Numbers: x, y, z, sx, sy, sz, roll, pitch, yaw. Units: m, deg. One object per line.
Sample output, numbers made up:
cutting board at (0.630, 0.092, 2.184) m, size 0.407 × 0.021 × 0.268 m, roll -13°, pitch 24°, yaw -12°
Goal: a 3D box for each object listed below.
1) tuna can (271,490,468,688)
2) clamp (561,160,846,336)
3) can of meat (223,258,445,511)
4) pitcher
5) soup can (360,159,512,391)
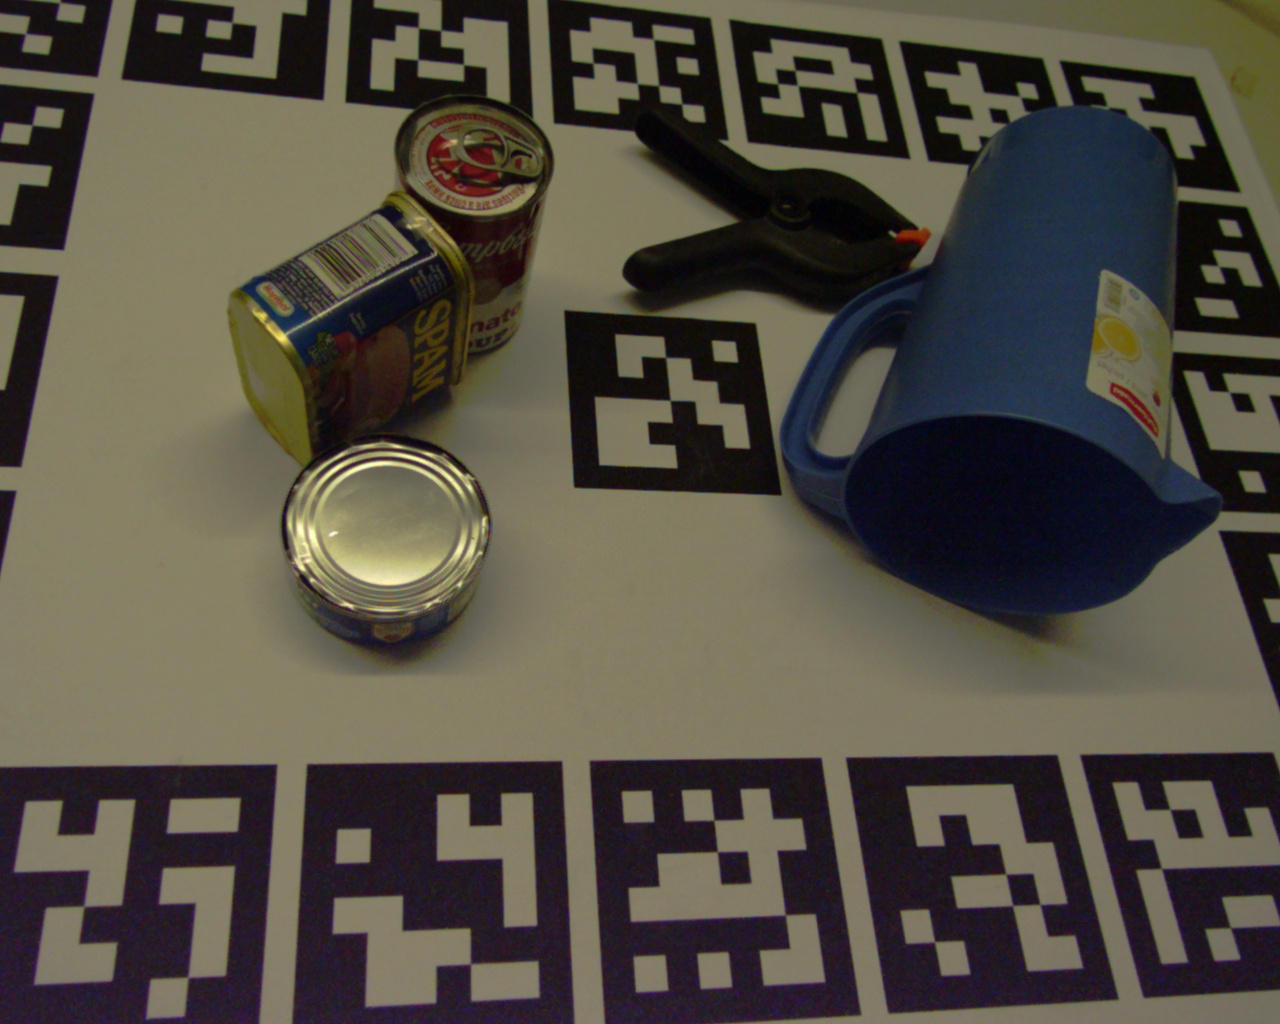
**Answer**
tuna can at (-0.122, 0.036, 0.517) m, size 0.085 × 0.034 × 0.086 m, roll 5°, pitch 65°, yaw -11°
clamp at (0.038, -0.144, 0.654) m, size 0.164 × 0.037 × 0.122 m, roll 4°, pitch 59°, yaw -14°
can of meat at (-0.139, -0.054, 0.516) m, size 0.083 × 0.102 × 0.058 m, roll -36°, pitch 78°, yaw -22°
pitcher at (0.170, -0.070, 0.575) m, size 0.190 × 0.132 × 0.242 m, roll 9°, pitch 52°, yaw 16°
soup can at (-0.101, -0.113, 0.560) m, size 0.067 × 0.102 × 0.068 m, roll 4°, pitch 65°, yaw -9°
